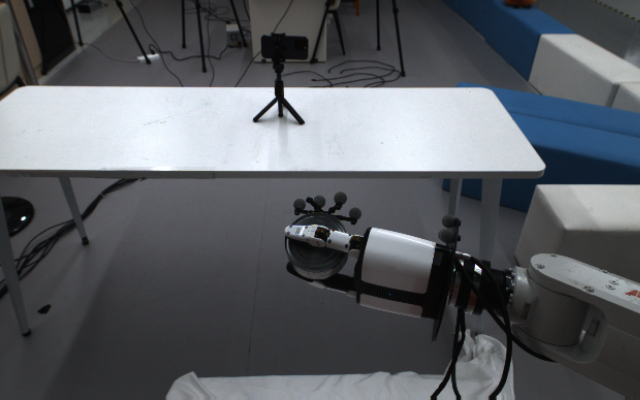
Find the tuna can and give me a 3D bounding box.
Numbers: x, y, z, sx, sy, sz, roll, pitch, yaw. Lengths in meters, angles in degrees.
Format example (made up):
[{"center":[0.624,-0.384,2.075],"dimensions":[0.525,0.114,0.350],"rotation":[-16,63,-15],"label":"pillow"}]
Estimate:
[{"center":[-0.003,0.060,0.647],"dimensions":[0.085,0.034,0.085],"rotation":[-2,58,3],"label":"tuna can"}]
